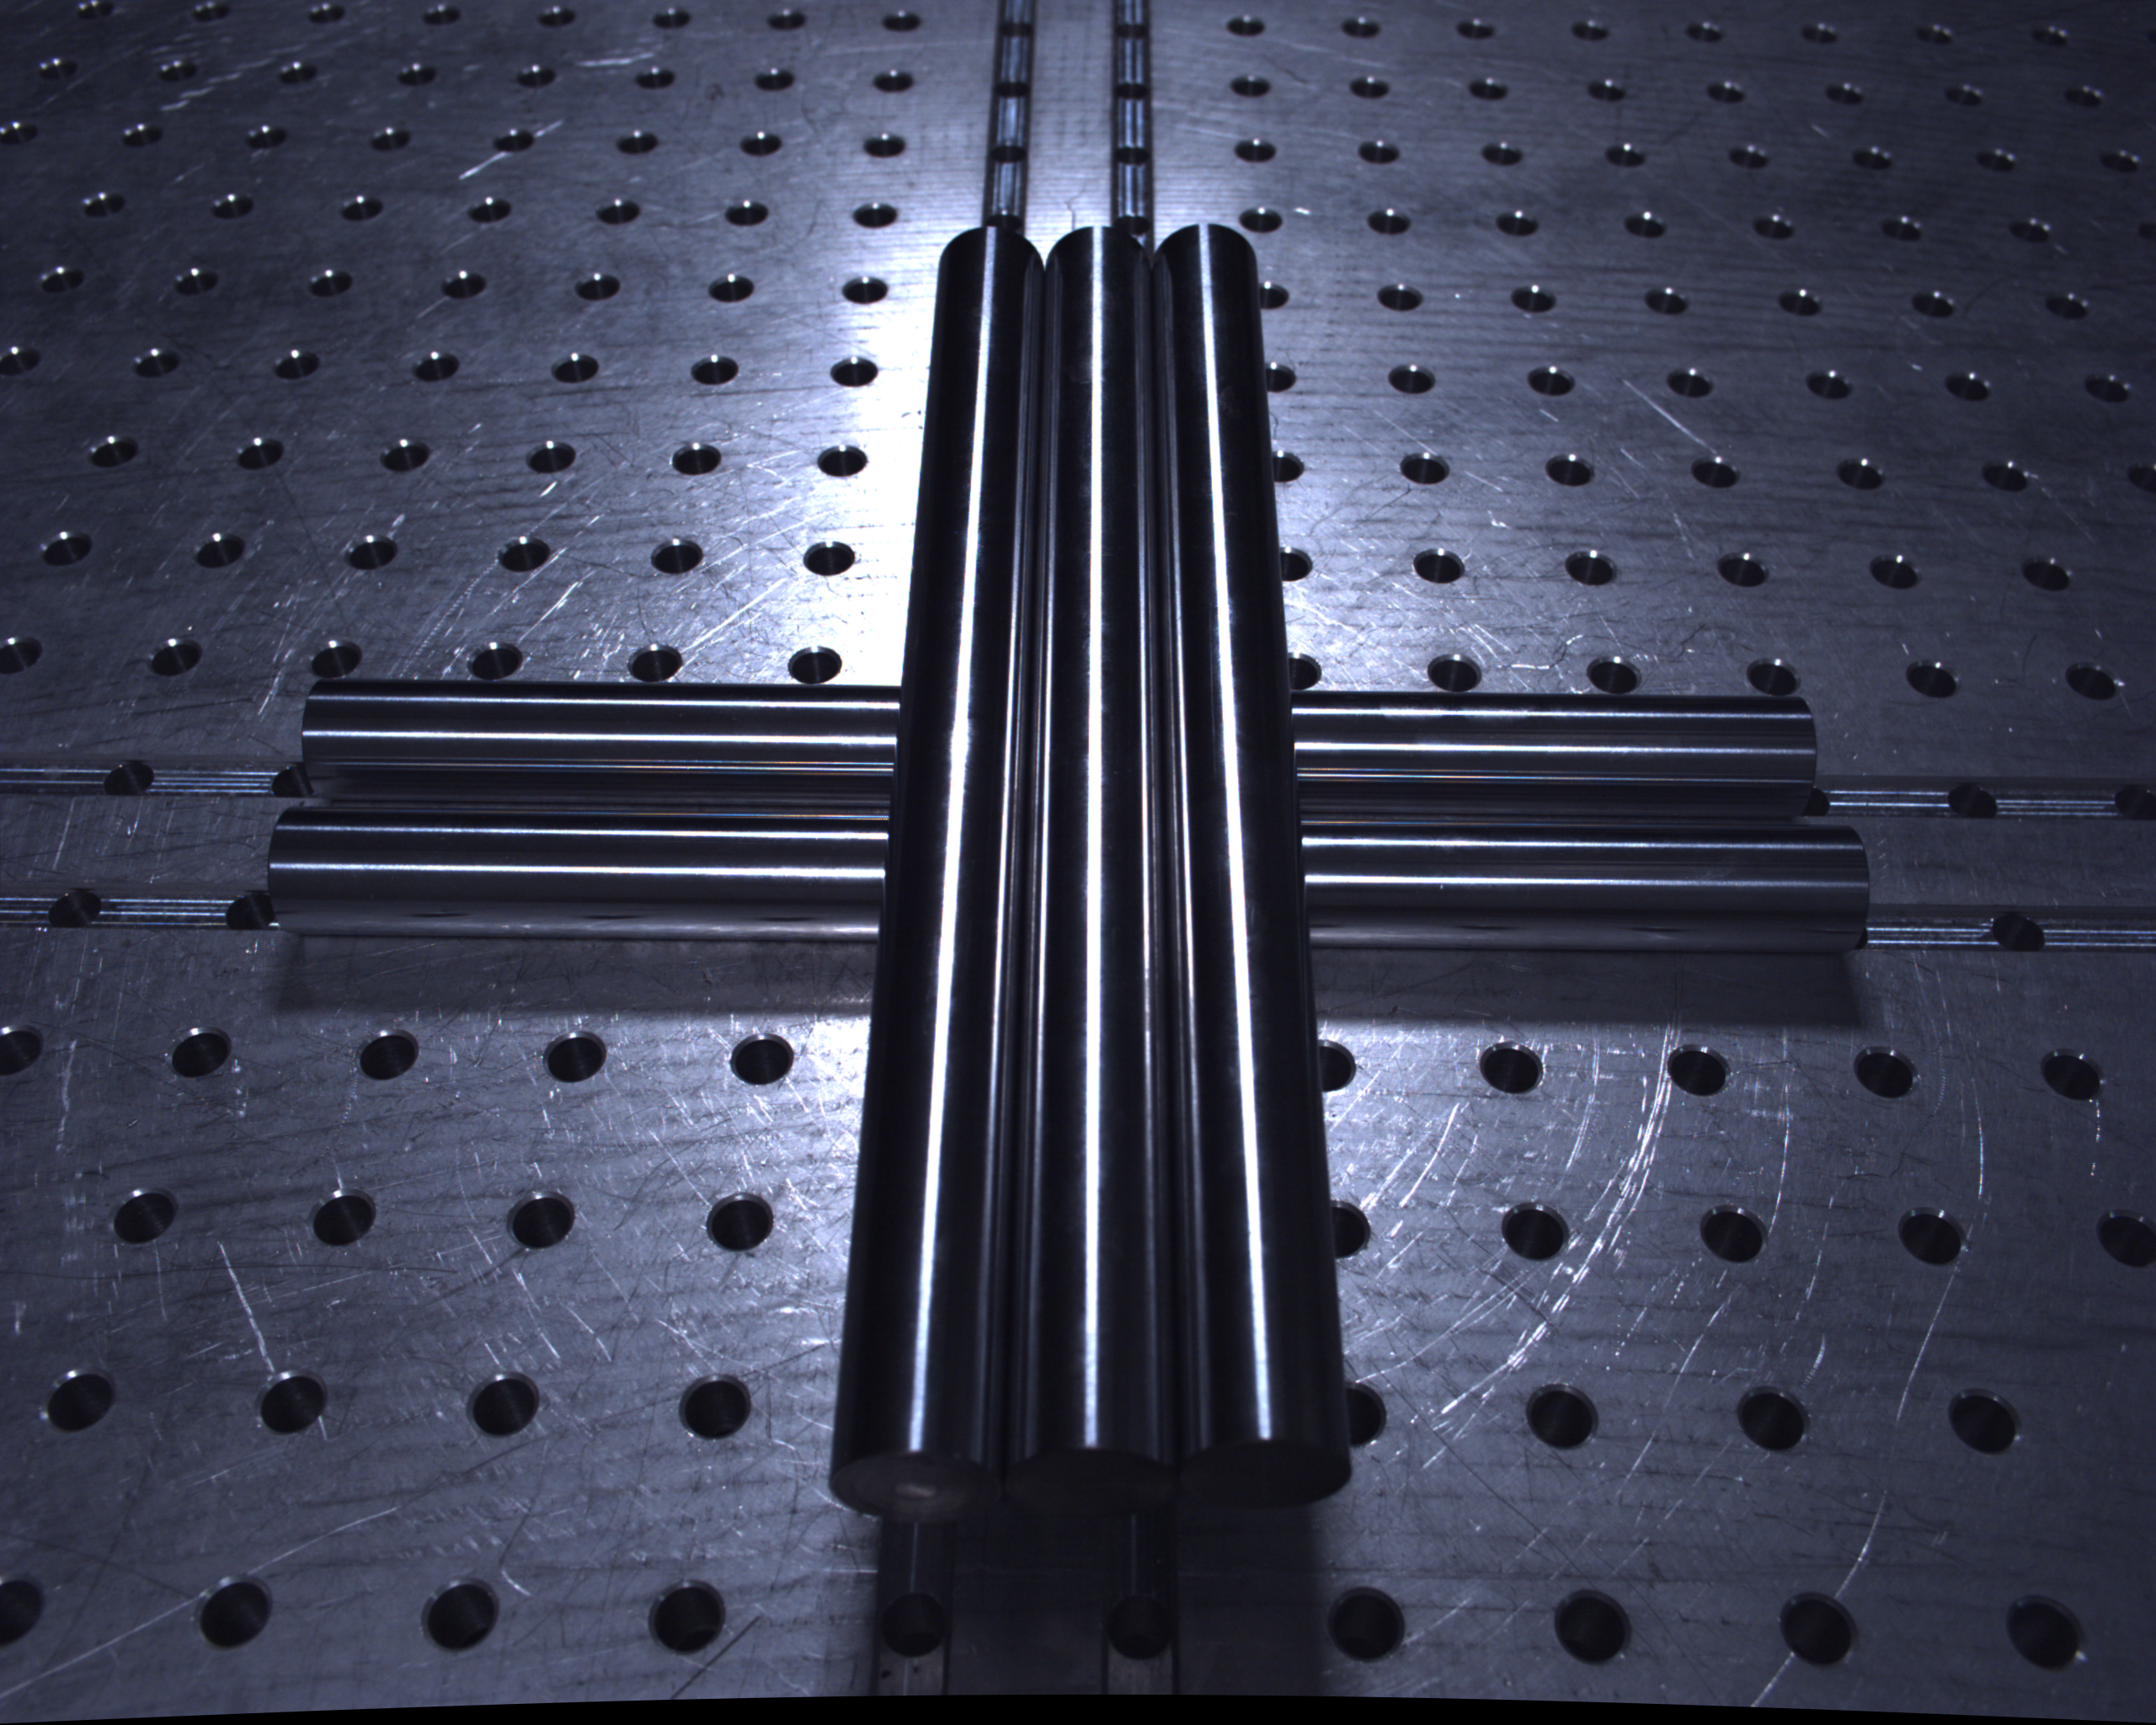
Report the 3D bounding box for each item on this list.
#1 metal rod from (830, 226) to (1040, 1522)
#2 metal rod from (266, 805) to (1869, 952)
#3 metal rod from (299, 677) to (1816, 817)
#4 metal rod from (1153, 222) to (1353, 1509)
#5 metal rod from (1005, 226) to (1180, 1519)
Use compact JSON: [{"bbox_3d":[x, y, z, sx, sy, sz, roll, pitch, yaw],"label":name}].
[{"bbox_3d":[-0.022,-0.025,0.396,0.025,0.025,0.300,1,50,0],"label":"metal rod"},{"bbox_3d":[-0.002,0.003,0.405,0.302,0.025,0.025,1,50,0],"label":"metal rod"},{"bbox_3d":[-0.004,-0.024,0.428,0.302,0.025,0.025,1,50,0],"label":"metal rod"},{"bbox_3d":[0.028,-0.026,0.398,0.025,0.025,0.300,1,50,0],"label":"metal rod"},{"bbox_3d":[0.003,-0.025,0.397,0.025,0.025,0.300,1,50,0],"label":"metal rod"}]
